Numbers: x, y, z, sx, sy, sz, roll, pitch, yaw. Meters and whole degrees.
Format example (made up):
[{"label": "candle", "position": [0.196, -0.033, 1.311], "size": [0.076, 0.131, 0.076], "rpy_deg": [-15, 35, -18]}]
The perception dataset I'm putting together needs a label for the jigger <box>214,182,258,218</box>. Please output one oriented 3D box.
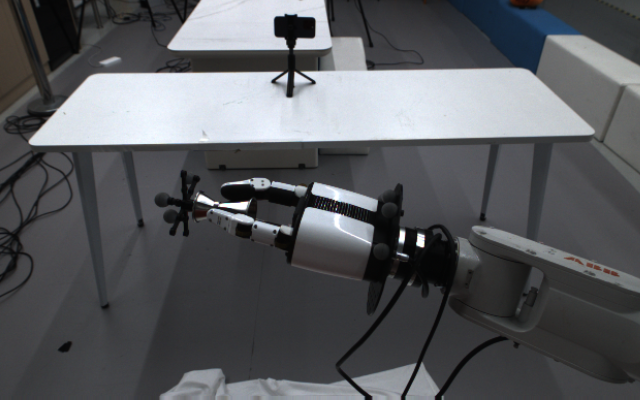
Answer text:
[{"label": "jigger", "position": [-0.106, 0.008, 0.589], "size": [0.071, 0.043, 0.043], "rpy_deg": [7, 35, 6]}]
